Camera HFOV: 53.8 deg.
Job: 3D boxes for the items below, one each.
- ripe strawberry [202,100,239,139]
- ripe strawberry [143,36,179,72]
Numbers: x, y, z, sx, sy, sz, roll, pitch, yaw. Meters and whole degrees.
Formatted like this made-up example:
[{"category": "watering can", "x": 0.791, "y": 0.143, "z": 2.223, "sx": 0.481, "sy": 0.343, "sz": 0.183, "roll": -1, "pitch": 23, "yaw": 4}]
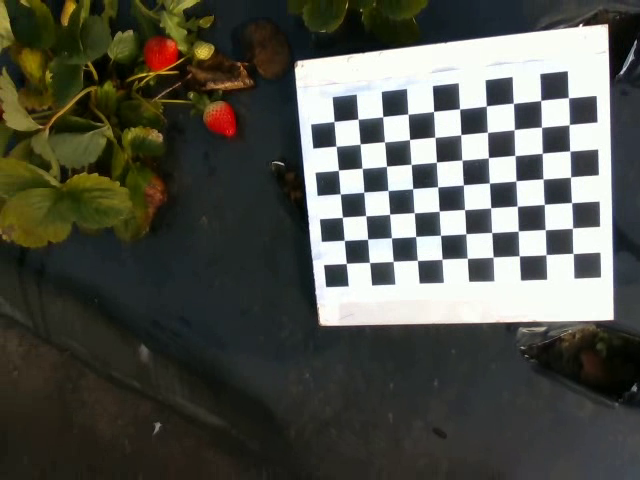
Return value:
[{"category": "ripe strawberry", "x": -0.100, "y": -0.121, "z": 0.621, "sx": 0.035, "sy": 0.043, "sz": 0.029, "roll": -41, "pitch": -5, "yaw": 13}, {"category": "ripe strawberry", "x": -0.158, "y": -0.190, "z": 0.620, "sx": 0.031, "sy": 0.040, "sz": 0.048, "roll": -21, "pitch": 5, "yaw": -35}]
